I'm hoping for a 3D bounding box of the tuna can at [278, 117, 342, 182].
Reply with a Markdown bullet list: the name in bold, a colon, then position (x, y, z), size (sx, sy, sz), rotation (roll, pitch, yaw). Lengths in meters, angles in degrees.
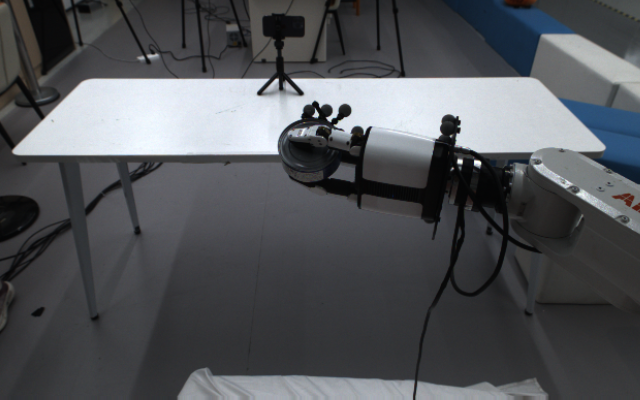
- **tuna can**: position (-0.013, -0.068, 0.659), size (0.085, 0.034, 0.085), rotation (-2, 60, 3)
